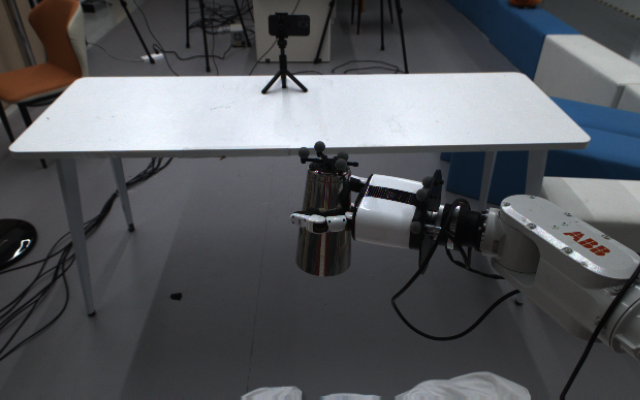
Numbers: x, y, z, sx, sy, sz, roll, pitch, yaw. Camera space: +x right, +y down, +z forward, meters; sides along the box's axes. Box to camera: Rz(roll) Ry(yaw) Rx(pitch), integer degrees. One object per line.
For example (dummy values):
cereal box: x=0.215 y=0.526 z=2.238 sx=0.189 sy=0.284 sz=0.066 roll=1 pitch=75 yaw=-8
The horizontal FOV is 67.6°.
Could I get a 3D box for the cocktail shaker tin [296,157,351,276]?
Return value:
cocktail shaker tin: x=0.010 y=0.024 z=0.774 sx=0.093 sy=0.170 sz=0.093 roll=2 pitch=26 yaw=-1
